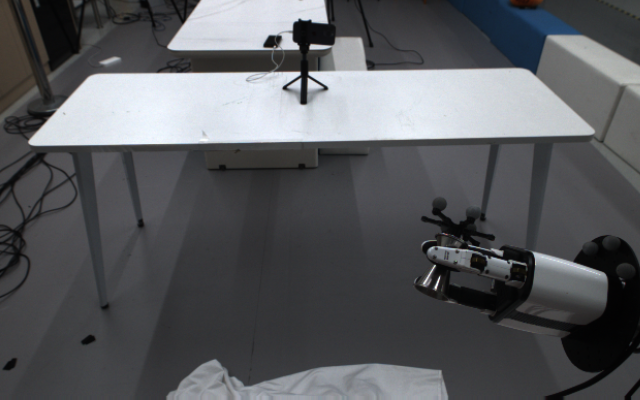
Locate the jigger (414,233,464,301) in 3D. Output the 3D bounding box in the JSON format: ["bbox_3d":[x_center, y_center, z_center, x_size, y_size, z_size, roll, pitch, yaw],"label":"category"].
[{"bbox_3d":[0.138,0.072,0.561,0.043,0.043,0.071,19,72,23],"label":"jigger"}]
